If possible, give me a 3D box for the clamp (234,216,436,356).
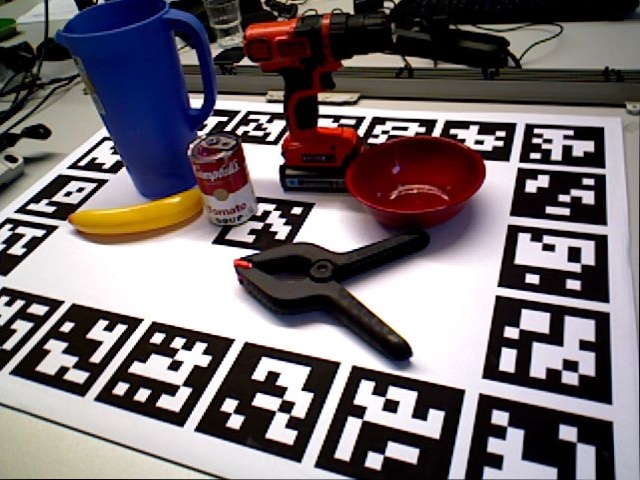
[{"bbox_3d":[0.005,0.032,0.546,0.203,0.037,0.162,4,48,18],"label":"clamp"}]

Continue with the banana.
[{"bbox_3d":[-0.246,-0.035,0.698,0.196,0.039,0.073,-10,32,0],"label":"banana"}]

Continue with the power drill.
[{"bbox_3d":[0.013,-0.180,0.648,0.185,0.190,0.056,3,43,16],"label":"power drill"}]

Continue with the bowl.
[{"bbox_3d":[0.109,-0.067,0.628,0.161,0.056,0.159,-8,42,6],"label":"bowl"}]

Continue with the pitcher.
[{"bbox_3d":[-0.223,-0.187,0.702,0.188,0.247,0.131,-10,38,2],"label":"pitcher"}]

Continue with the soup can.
[{"bbox_3d":[-0.119,-0.081,0.666,0.068,0.104,0.067,-6,33,3],"label":"soup can"}]
